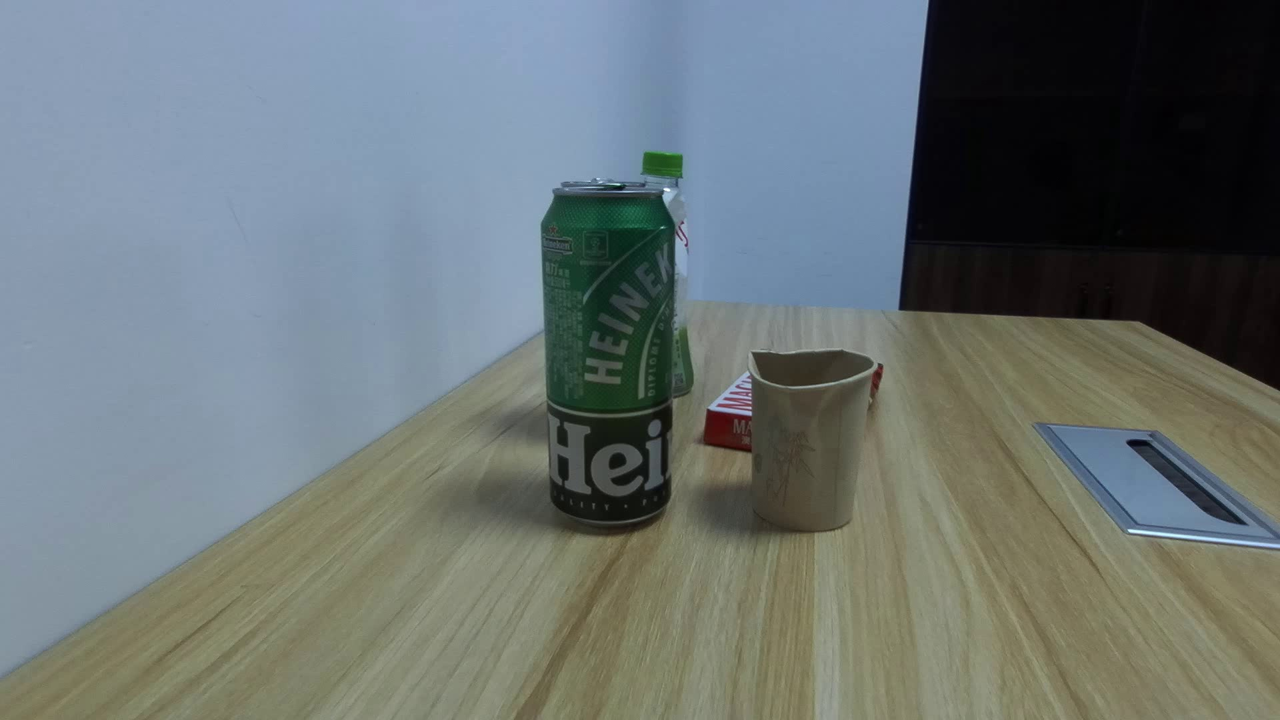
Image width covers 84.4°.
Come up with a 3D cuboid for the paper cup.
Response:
[{"bbox_3d":[0.090,0.041,0.369,0.072,0.084,0.066,-3,15,-9],"label":"paper cup"}]

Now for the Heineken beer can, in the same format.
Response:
[{"bbox_3d":[-0.015,0.000,0.362,0.067,0.169,0.067,1,15,0],"label":"Heineken beer can"}]

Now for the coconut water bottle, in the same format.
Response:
[{"bbox_3d":[0.015,-0.068,0.560,0.069,0.187,0.069,1,14,0],"label":"coconut water bottle"}]

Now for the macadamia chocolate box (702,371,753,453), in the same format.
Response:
[{"bbox_3d":[0.122,0.032,0.541,0.105,0.028,0.183,8,15,20],"label":"macadamia chocolate box"}]
